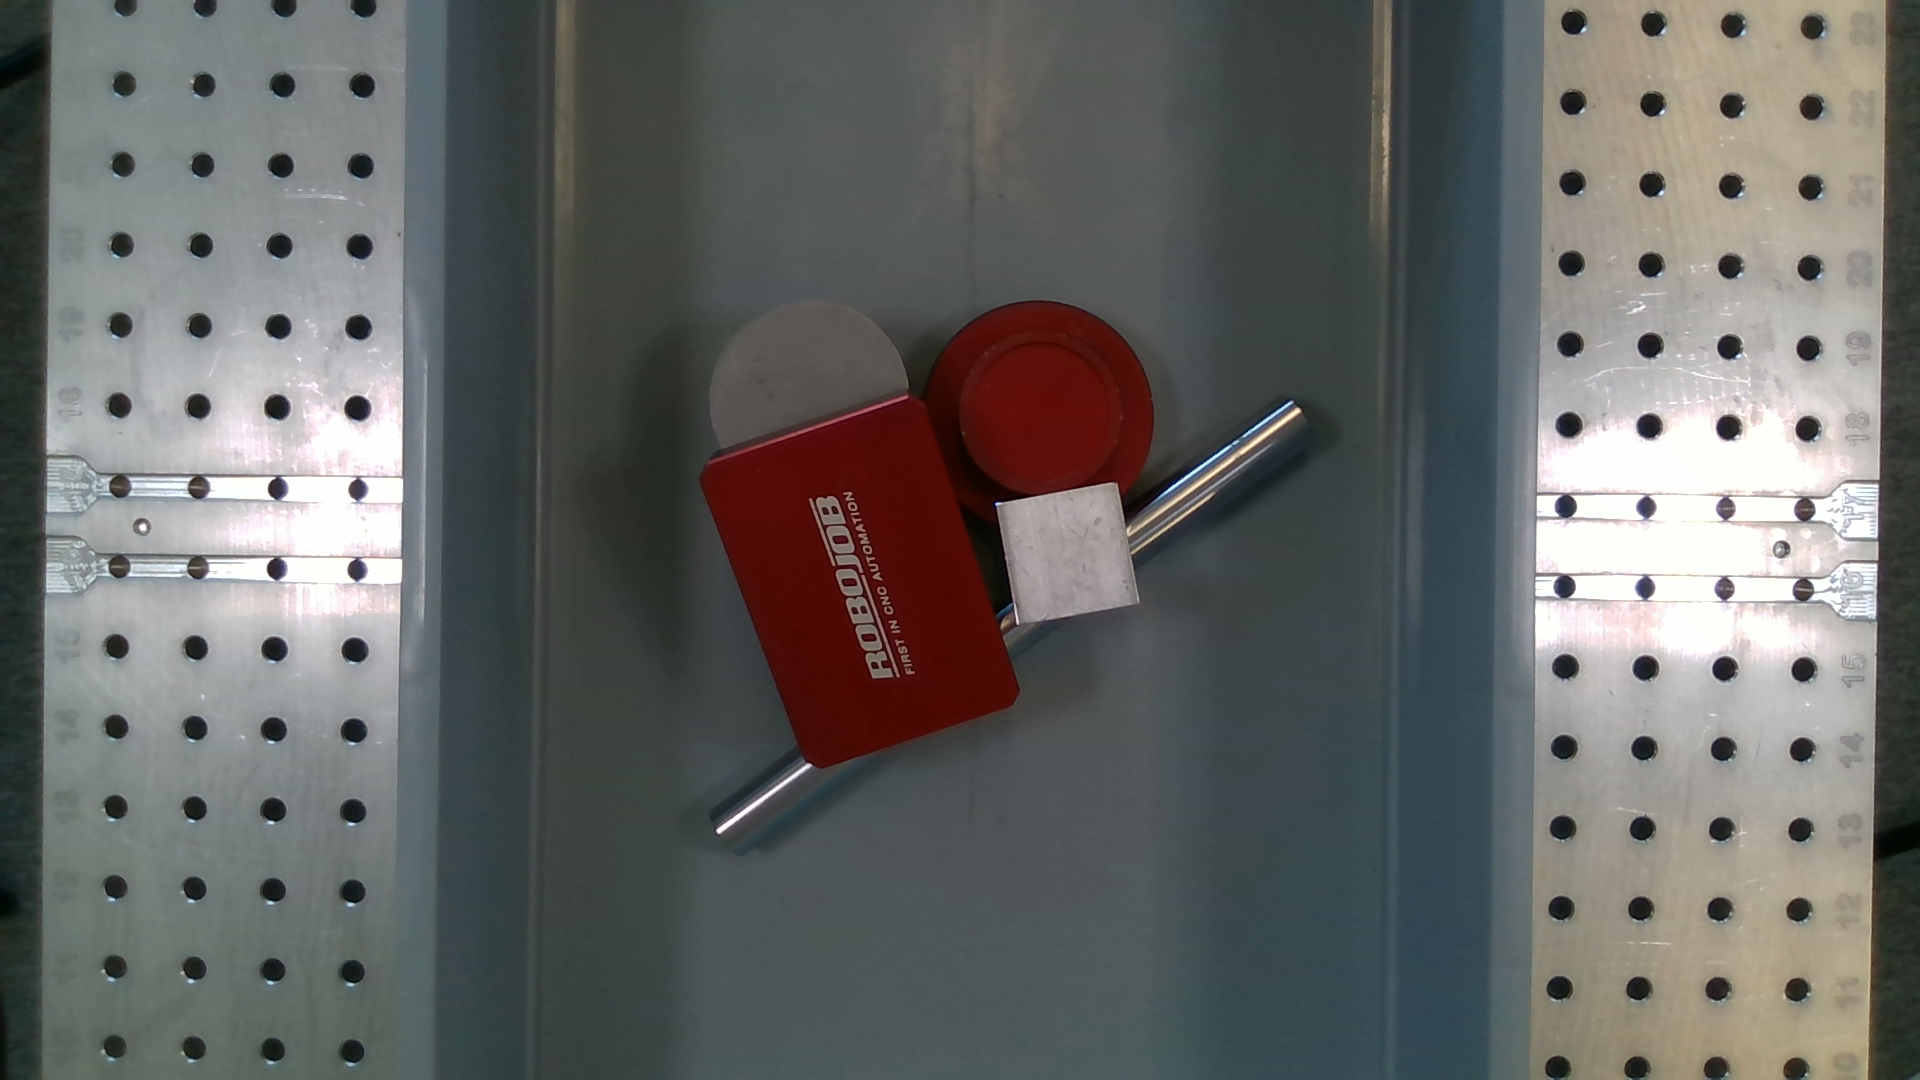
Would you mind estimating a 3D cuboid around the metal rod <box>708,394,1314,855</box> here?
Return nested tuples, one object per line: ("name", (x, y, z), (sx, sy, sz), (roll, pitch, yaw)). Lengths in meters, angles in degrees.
("metal rod", (0.022, 0.036, 0.587), (0.300, 0.025, 0.025), (-36, 90, 0))

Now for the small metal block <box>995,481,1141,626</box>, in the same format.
("small metal block", (0.044, 0.006, 0.563), (0.050, 0.025, 0.050), (-10, 85, 3))

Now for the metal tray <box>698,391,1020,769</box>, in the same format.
("metal tray", (-0.038, 0.015, 0.545), (0.090, 0.030, 0.130), (-18, 103, 0))

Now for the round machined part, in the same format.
("round machined part", (0.033, -0.052, 0.576), (0.098, 0.042, 0.098), (0, 89, 0))

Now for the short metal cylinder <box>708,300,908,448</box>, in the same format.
("short metal cylinder", (-0.060, -0.056, 0.573), (0.080, 0.050, 0.080), (0, 90, 0))
